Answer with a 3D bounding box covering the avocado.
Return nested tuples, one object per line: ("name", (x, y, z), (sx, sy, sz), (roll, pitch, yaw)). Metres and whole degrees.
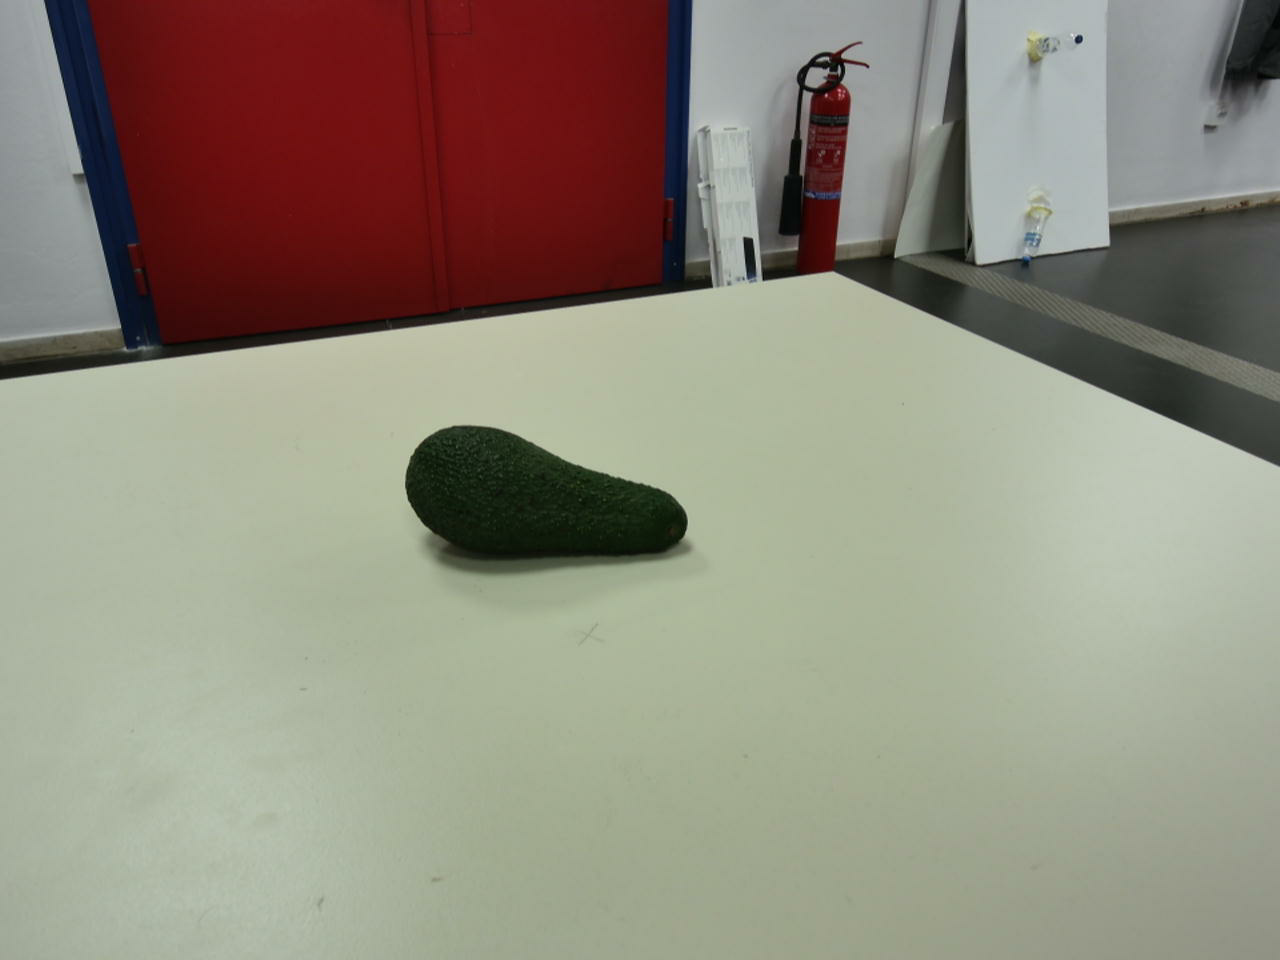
("avocado", (-0.047, 0.003, 0.506), (0.141, 0.067, 0.063), (-4, 26, -9))
